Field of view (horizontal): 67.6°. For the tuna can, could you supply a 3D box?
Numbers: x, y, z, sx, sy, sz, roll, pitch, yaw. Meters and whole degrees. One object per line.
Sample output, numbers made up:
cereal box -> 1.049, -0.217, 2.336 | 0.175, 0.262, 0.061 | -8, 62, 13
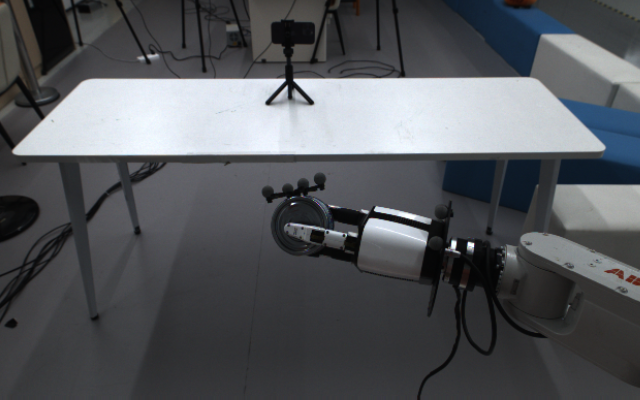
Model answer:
tuna can -> -0.023, 0.035, 0.683 | 0.085, 0.085, 0.034 | 12, 3, 14
